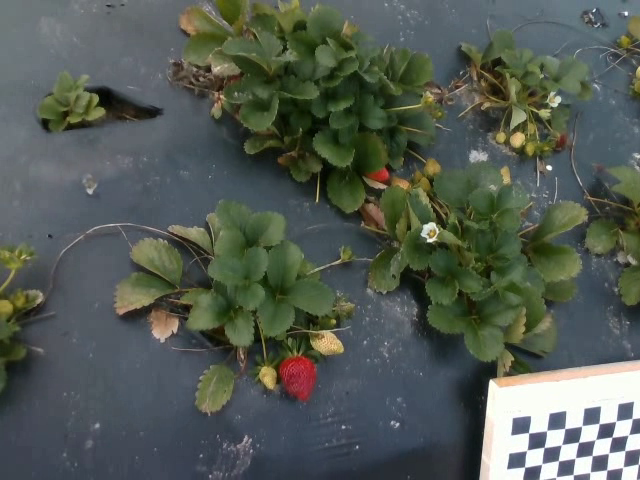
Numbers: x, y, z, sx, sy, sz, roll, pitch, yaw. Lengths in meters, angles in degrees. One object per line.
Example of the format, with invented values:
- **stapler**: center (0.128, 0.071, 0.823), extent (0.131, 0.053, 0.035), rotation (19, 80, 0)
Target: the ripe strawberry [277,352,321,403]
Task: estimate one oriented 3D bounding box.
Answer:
- **ripe strawberry**: center (-0.023, 0.159, 0.664), extent (0.046, 0.046, 0.059), rotation (-8, 38, -9)
